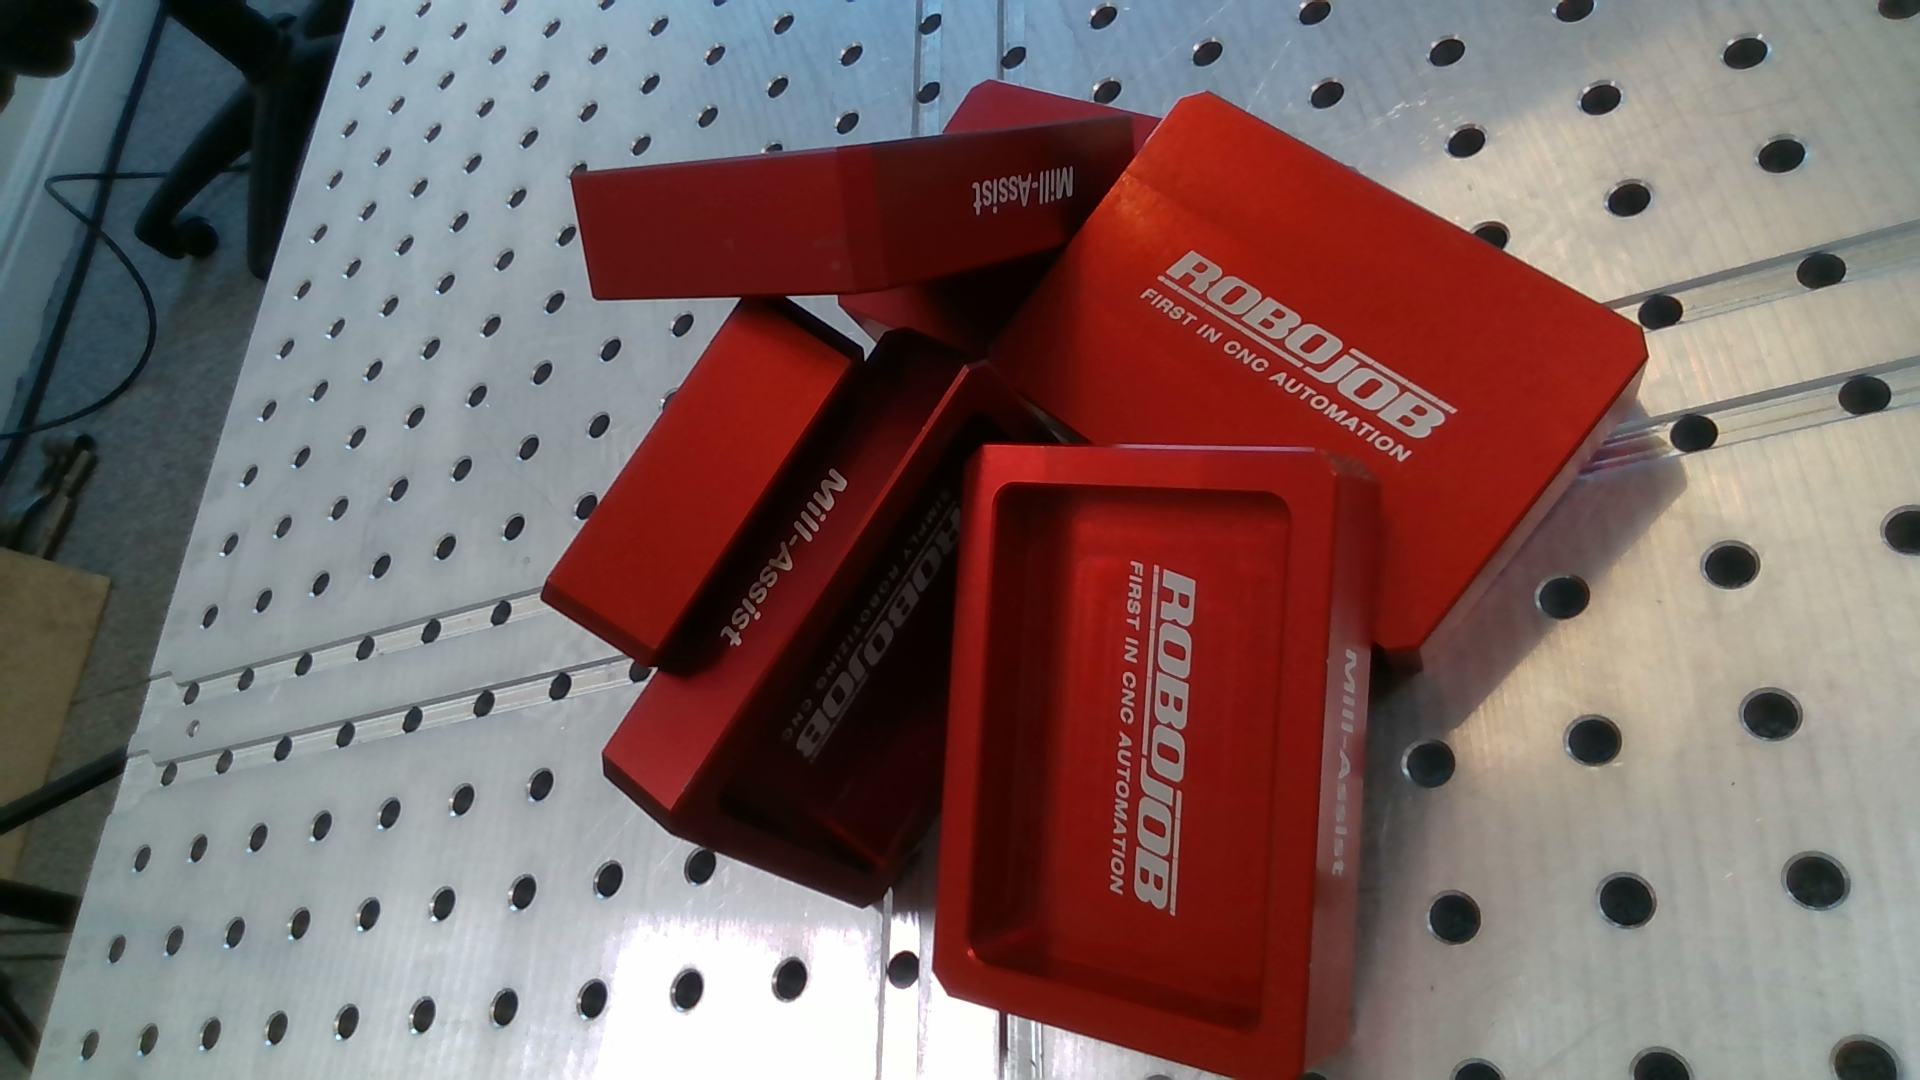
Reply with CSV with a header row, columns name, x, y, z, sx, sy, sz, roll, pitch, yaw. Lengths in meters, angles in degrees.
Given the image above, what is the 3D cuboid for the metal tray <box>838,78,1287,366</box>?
name,x,y,z,sx,sy,sz,roll,pitch,yaw
metal tray,0.034,-0.085,0.416,0.130,0.030,0.090,28,83,39

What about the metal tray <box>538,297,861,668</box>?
name,x,y,z,sx,sy,sz,roll,pitch,yaw
metal tray,-0.063,-0.010,0.378,0.030,0.130,0.090,33,84,0

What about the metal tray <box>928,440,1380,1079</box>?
name,x,y,z,sx,sy,sz,roll,pitch,yaw
metal tray,0.042,0.044,0.312,0.090,0.030,0.130,4,90,33

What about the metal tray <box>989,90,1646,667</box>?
name,x,y,z,sx,sy,sz,roll,pitch,yaw
metal tray,0.083,-0.042,0.340,0.130,0.030,0.090,38,92,25

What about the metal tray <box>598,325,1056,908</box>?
name,x,y,z,sx,sy,sz,roll,pitch,yaw
metal tray,-0.021,0.023,0.353,0.030,0.090,0.130,29,82,38

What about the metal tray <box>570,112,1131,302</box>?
name,x,y,z,sx,sy,sz,roll,pitch,yaw
metal tray,-0.022,-0.088,0.359,0.090,0.130,0.030,5,110,33
